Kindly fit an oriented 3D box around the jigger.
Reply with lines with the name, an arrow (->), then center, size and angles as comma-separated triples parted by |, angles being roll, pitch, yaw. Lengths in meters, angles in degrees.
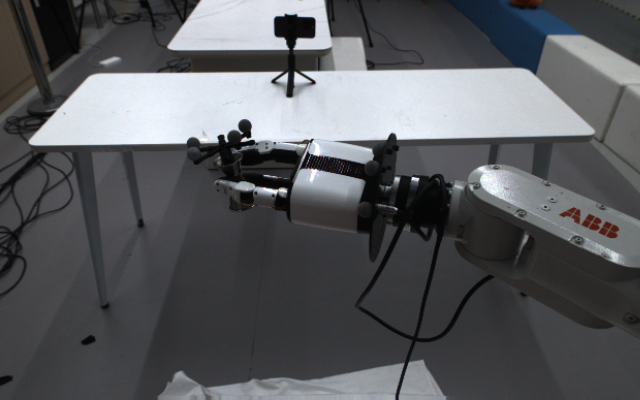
jigger -> -0.111, -0.024, 0.637 | 0.043, 0.071, 0.043 | -12, 29, 7
